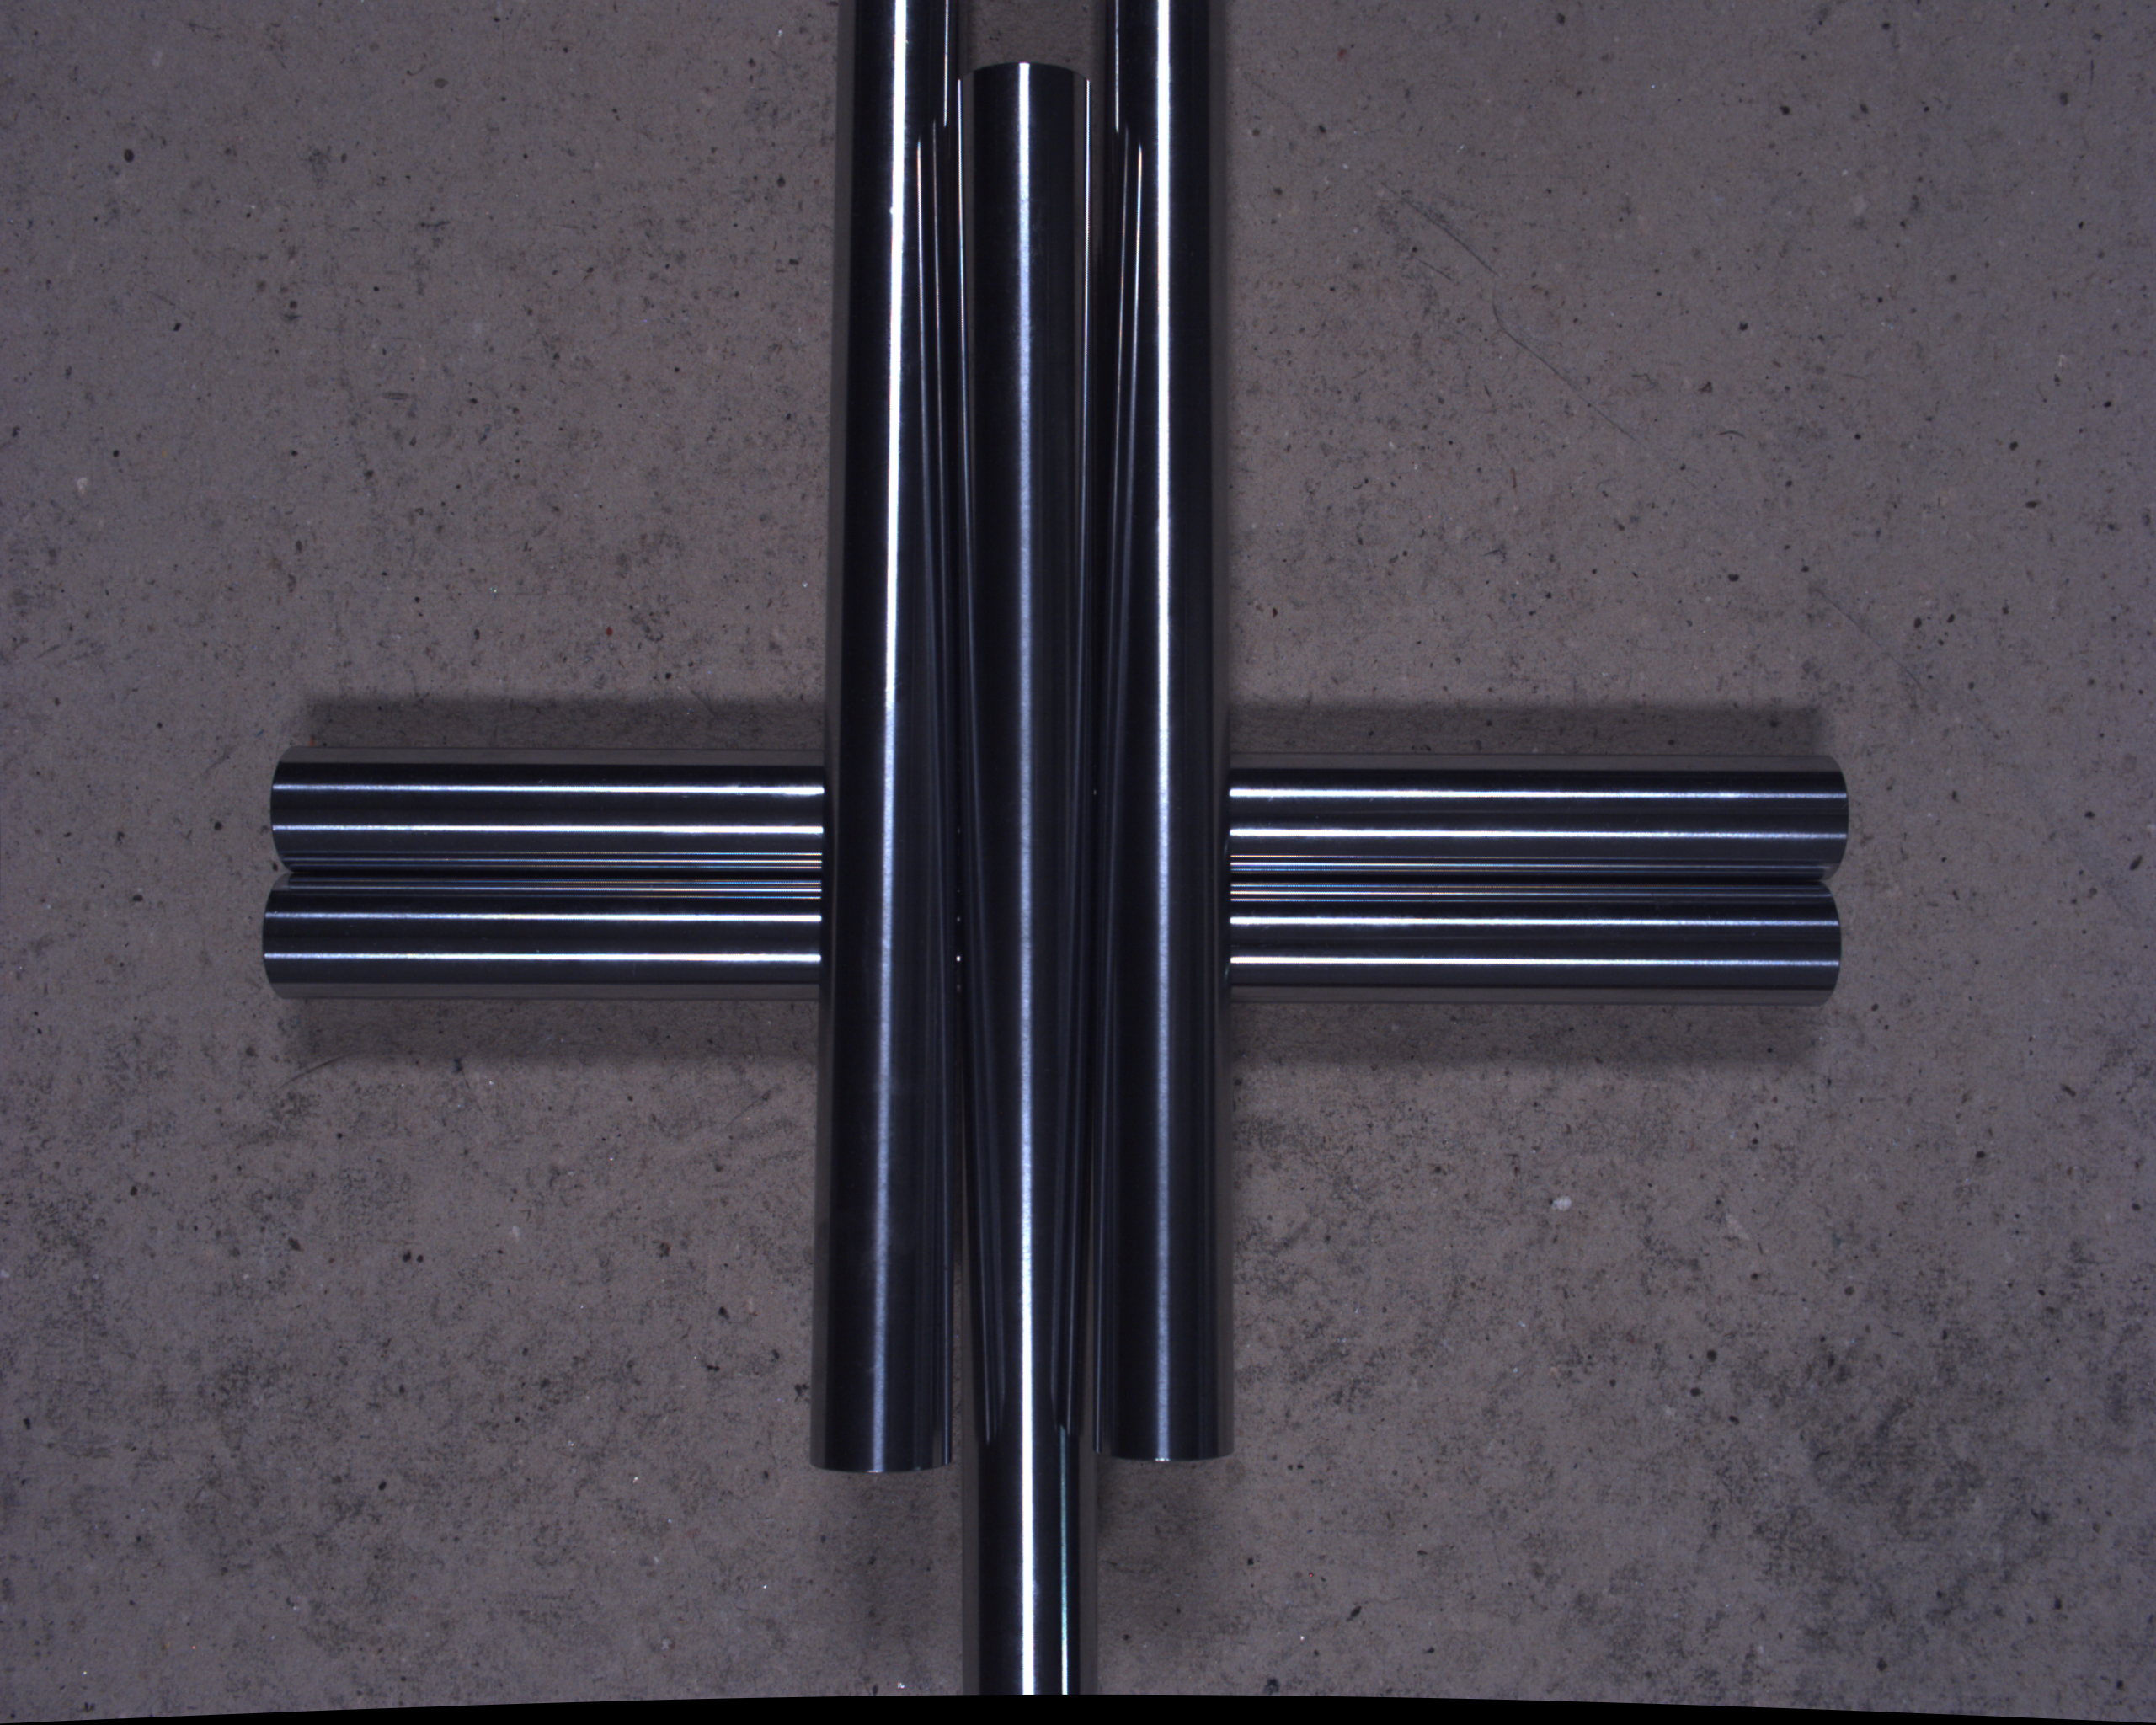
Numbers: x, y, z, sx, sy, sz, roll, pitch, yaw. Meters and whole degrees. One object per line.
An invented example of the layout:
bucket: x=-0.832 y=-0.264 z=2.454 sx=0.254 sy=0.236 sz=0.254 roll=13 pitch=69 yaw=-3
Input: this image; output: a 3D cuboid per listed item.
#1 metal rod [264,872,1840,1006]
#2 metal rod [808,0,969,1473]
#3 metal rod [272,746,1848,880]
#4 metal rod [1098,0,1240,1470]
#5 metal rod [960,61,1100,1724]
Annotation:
metal rod: x=-0.004 y=0.015 z=0.412 sx=0.302 sy=0.025 sz=0.025 roll=0 pitch=90 yaw=-1
metal rod: x=-0.034 y=-0.042 z=0.390 sx=0.025 sy=0.025 sz=0.298 roll=0 pitch=82 yaw=-1
metal rod: x=-0.003 y=-0.010 z=0.412 sx=0.302 sy=0.025 sz=0.025 roll=0 pitch=90 yaw=-1
metal rod: x=0.017 y=-0.042 z=0.390 sx=0.025 sy=0.025 sz=0.298 roll=0 pitch=82 yaw=-1
metal rod: x=-0.009 y=0.005 z=0.385 sx=0.025 sy=0.025 sz=0.298 roll=0 pitch=90 yaw=-1
